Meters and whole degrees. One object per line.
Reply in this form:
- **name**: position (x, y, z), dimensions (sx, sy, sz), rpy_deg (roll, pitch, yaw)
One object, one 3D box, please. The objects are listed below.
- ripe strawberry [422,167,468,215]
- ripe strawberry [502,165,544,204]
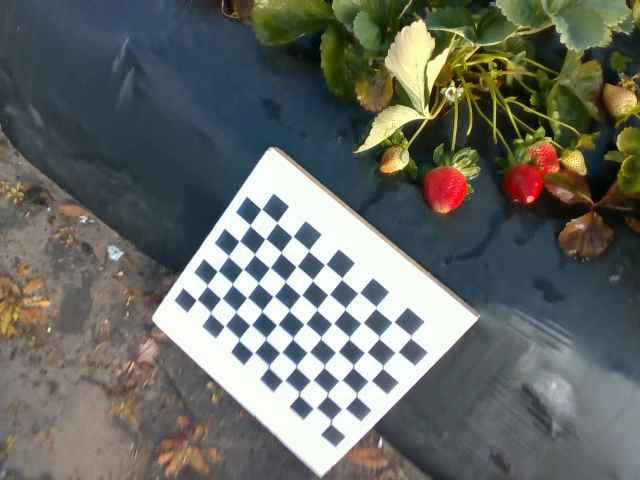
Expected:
- **ripe strawberry**: position (0.131, -0.053, 0.653), dimensions (0.050, 0.050, 0.065), rpy_deg (1, 40, 23)
- **ripe strawberry**: position (0.216, -0.057, 0.663), dimensions (0.044, 0.042, 0.055), rpy_deg (-25, 35, 22)
